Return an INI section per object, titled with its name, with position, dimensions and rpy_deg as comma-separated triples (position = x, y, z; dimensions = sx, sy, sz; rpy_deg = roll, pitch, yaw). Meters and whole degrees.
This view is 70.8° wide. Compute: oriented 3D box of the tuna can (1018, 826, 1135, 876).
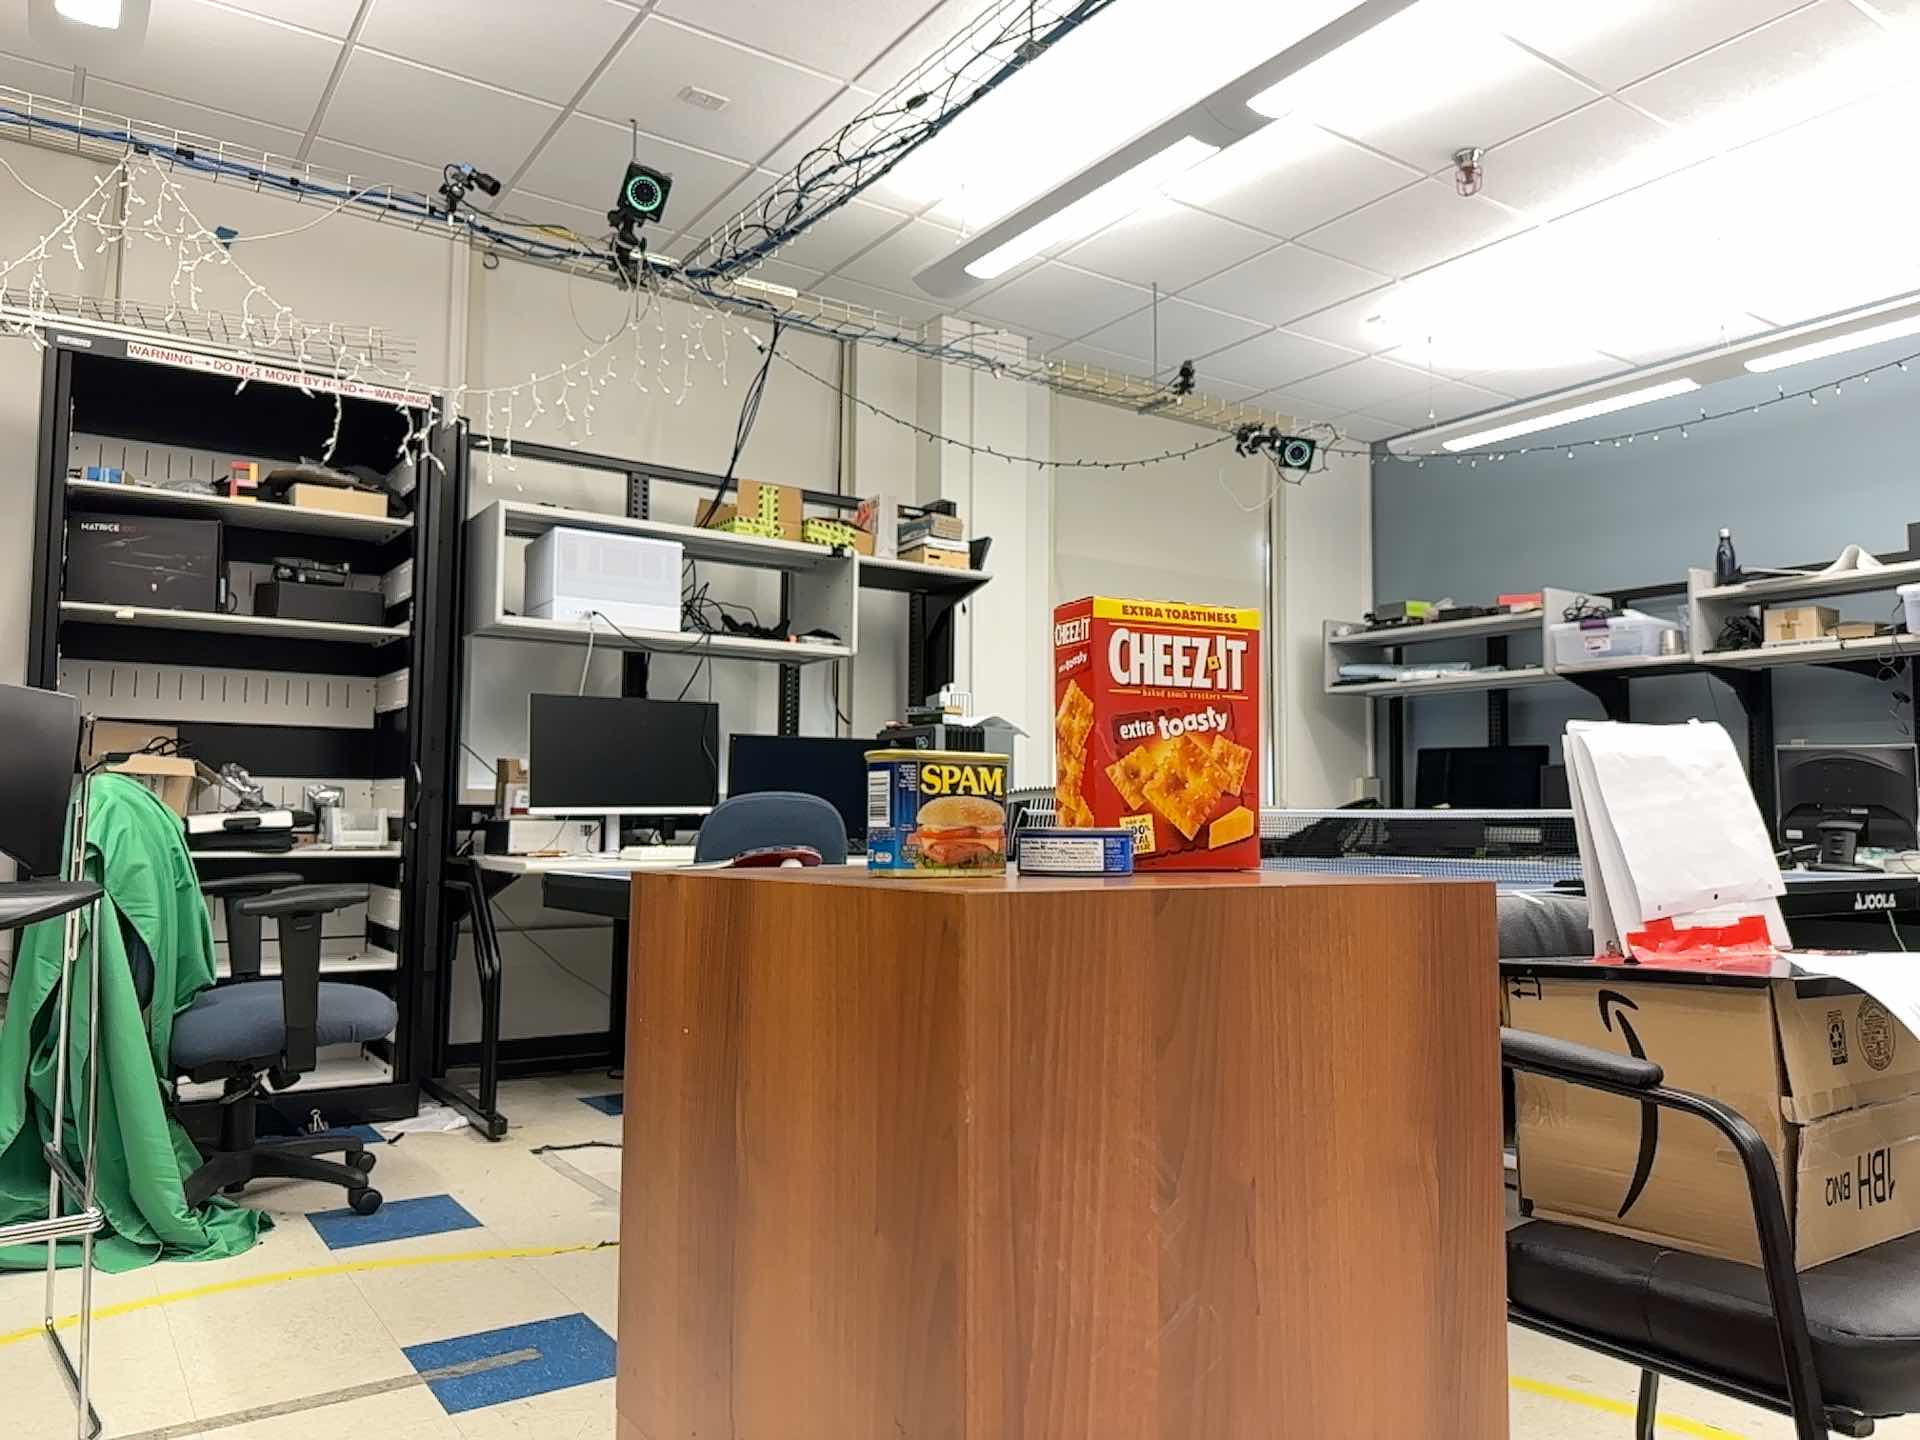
[tuna can]
position = 0.084, 0.095, 0.979
dimensions = 0.083, 0.034, 0.083
rpy_deg = 0, -6, 0

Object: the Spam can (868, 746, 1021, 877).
[Spam can]
position = -0.012, 0.063, 0.923
dimensions = 0.100, 0.083, 0.056
rpy_deg = 4, -5, -25

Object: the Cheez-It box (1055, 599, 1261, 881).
[Cheez-It box]
position = 0.163, 0.019, 1.109
dimensions = 0.159, 0.214, 0.062
rpy_deg = 4, -5, -28
